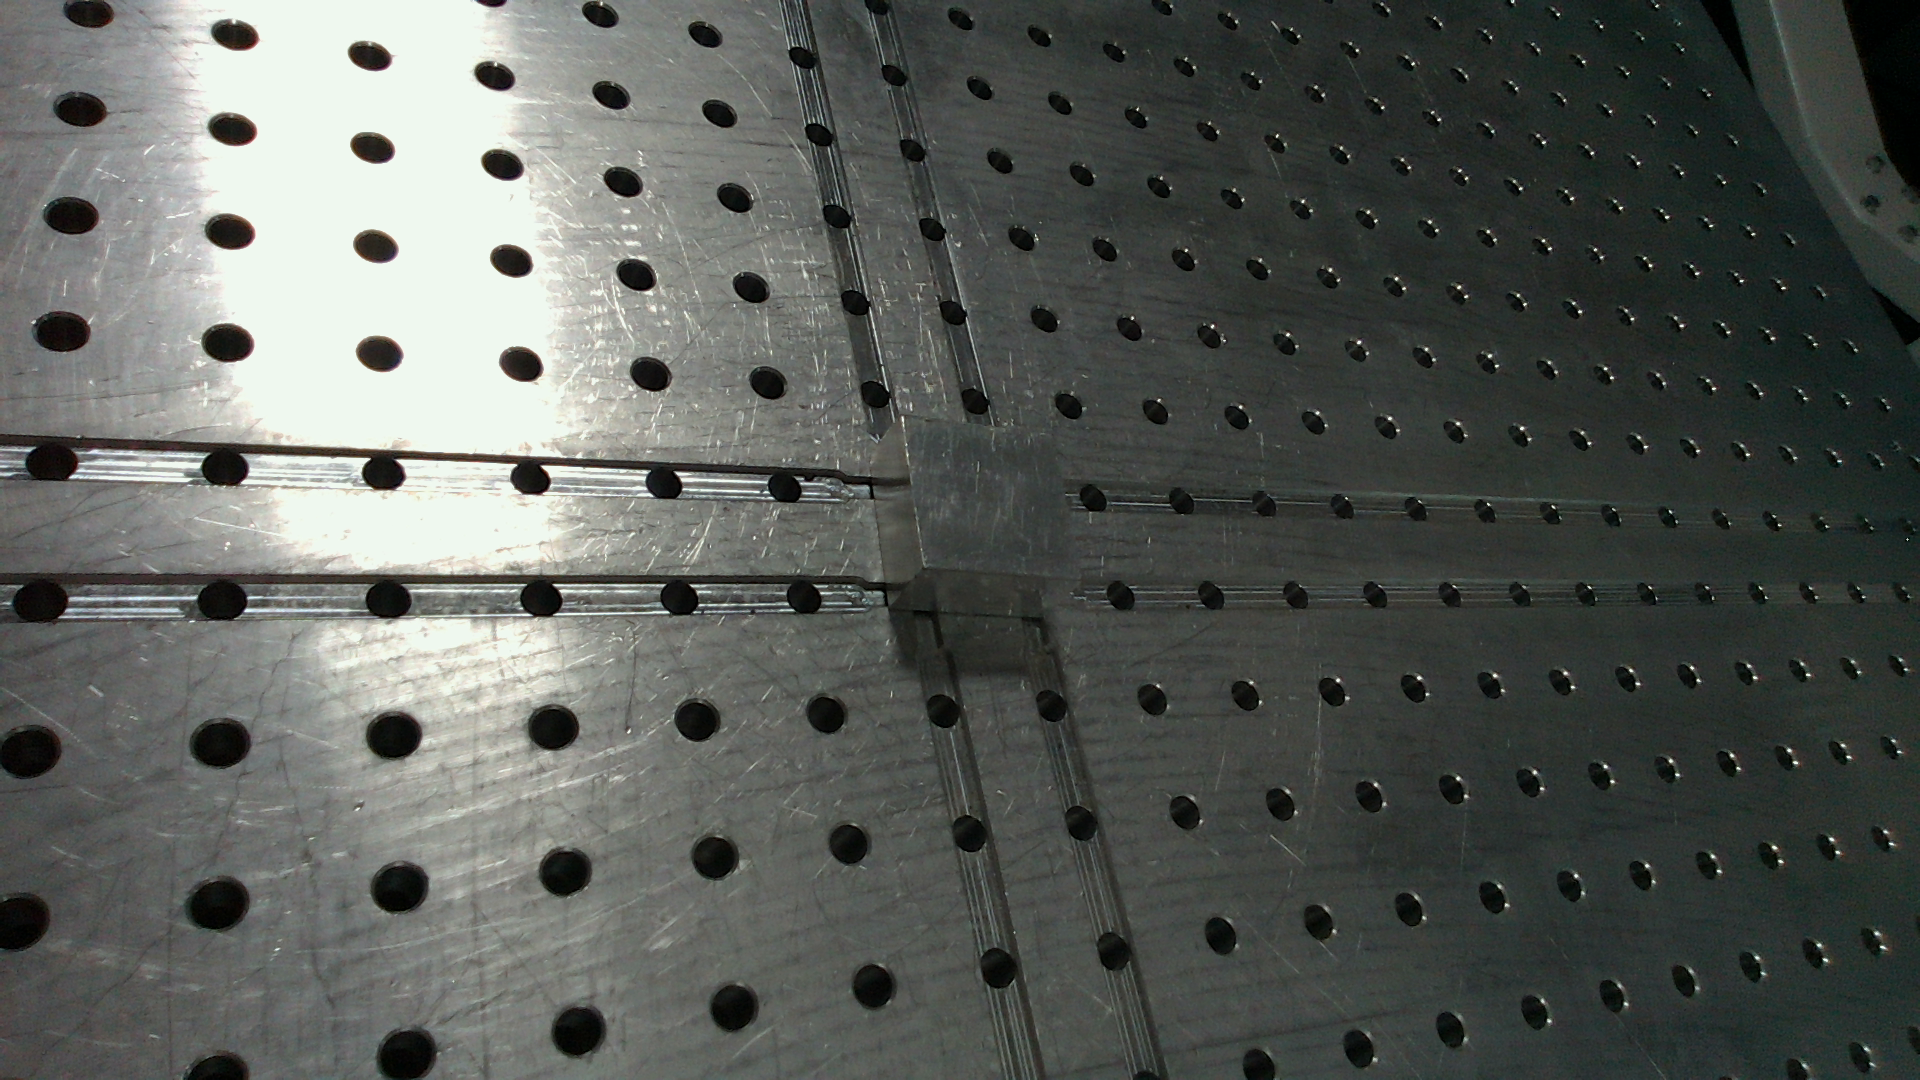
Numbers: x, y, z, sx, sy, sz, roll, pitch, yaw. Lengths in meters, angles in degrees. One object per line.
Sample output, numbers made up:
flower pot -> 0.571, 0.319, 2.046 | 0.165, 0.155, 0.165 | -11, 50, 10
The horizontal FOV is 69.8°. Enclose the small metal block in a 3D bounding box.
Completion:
small metal block -> 0.004, -0.007, 0.398 | 0.050, 0.025, 0.050 | 5, 59, -26
